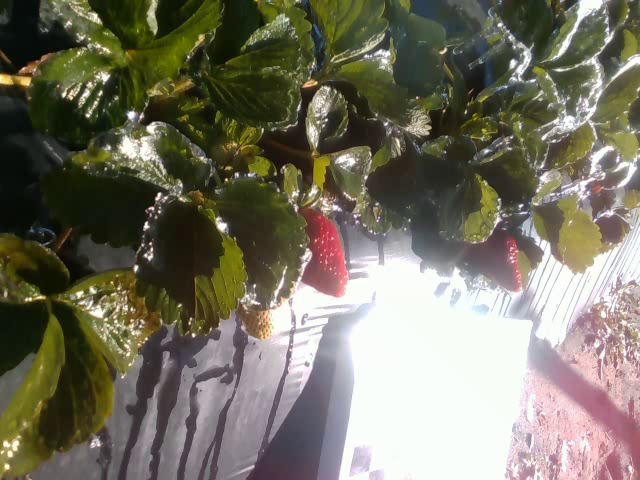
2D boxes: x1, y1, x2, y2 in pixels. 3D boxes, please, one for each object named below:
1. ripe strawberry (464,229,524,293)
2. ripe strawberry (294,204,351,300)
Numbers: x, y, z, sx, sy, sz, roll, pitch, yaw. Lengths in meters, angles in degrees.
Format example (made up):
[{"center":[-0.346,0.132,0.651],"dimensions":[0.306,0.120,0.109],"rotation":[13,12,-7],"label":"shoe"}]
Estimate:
[{"center":[0.159,0.022,0.510],"dimensions":[0.048,0.061,0.044],"rotation":[-2,-21,-46],"label":"ripe strawberry"},{"center":[-0.002,0.014,0.348],"dimensions":[0.042,0.061,0.046],"rotation":[-13,-23,-44],"label":"ripe strawberry"}]
